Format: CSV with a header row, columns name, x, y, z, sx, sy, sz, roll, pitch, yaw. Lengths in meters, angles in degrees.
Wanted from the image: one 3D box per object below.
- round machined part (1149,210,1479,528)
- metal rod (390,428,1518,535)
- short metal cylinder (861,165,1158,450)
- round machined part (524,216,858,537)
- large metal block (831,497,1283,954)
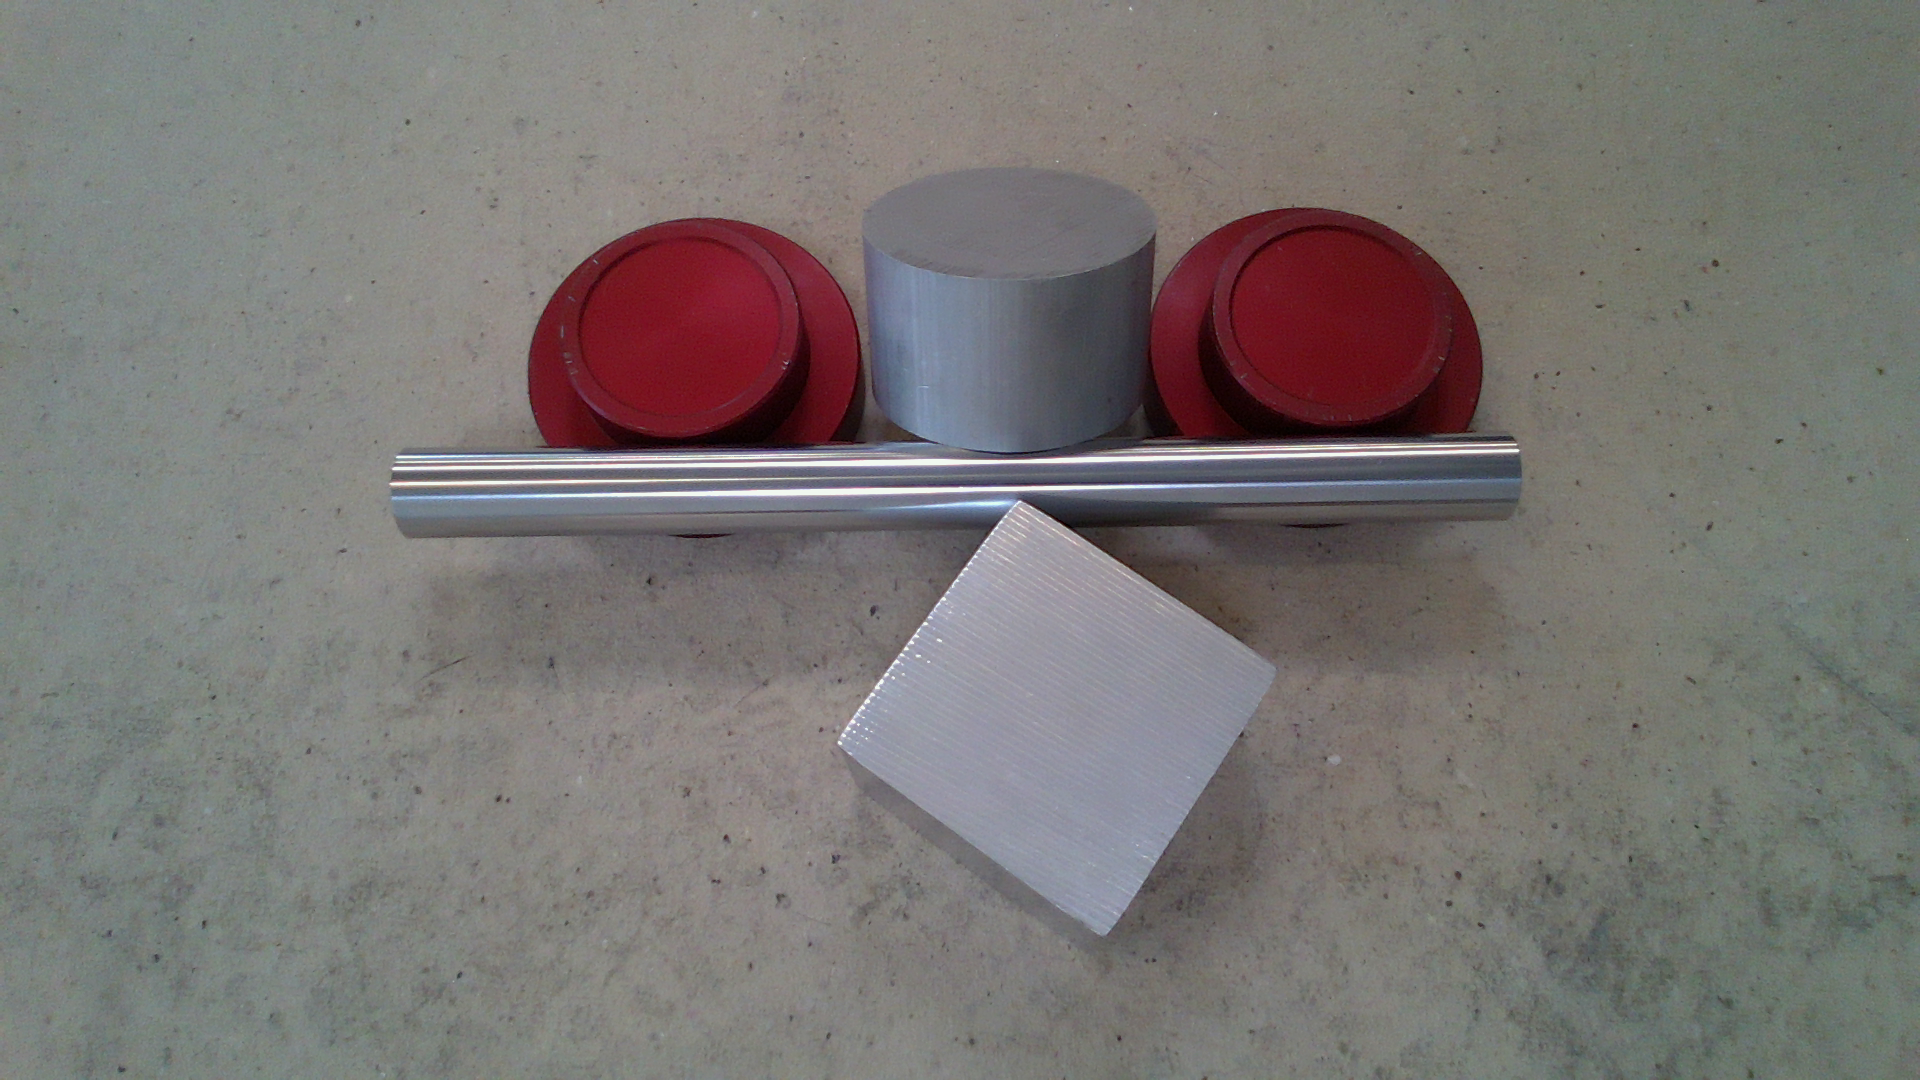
name,x,y,z,sx,sy,sz,roll,pitch,yaw
round machined part,0.105,-0.056,0.407,0.098,0.042,0.098,0,70,0
metal rod,-0.001,-0.016,0.378,0.300,0.025,0.025,-1,70,-1
short metal cylinder,0.014,-0.067,0.386,0.080,0.050,0.080,0,34,0
round machined part,-0.079,-0.054,0.404,0.098,0.042,0.098,0,70,0
large metal block,0.025,0.050,0.361,0.080,0.050,0.080,34,73,11
